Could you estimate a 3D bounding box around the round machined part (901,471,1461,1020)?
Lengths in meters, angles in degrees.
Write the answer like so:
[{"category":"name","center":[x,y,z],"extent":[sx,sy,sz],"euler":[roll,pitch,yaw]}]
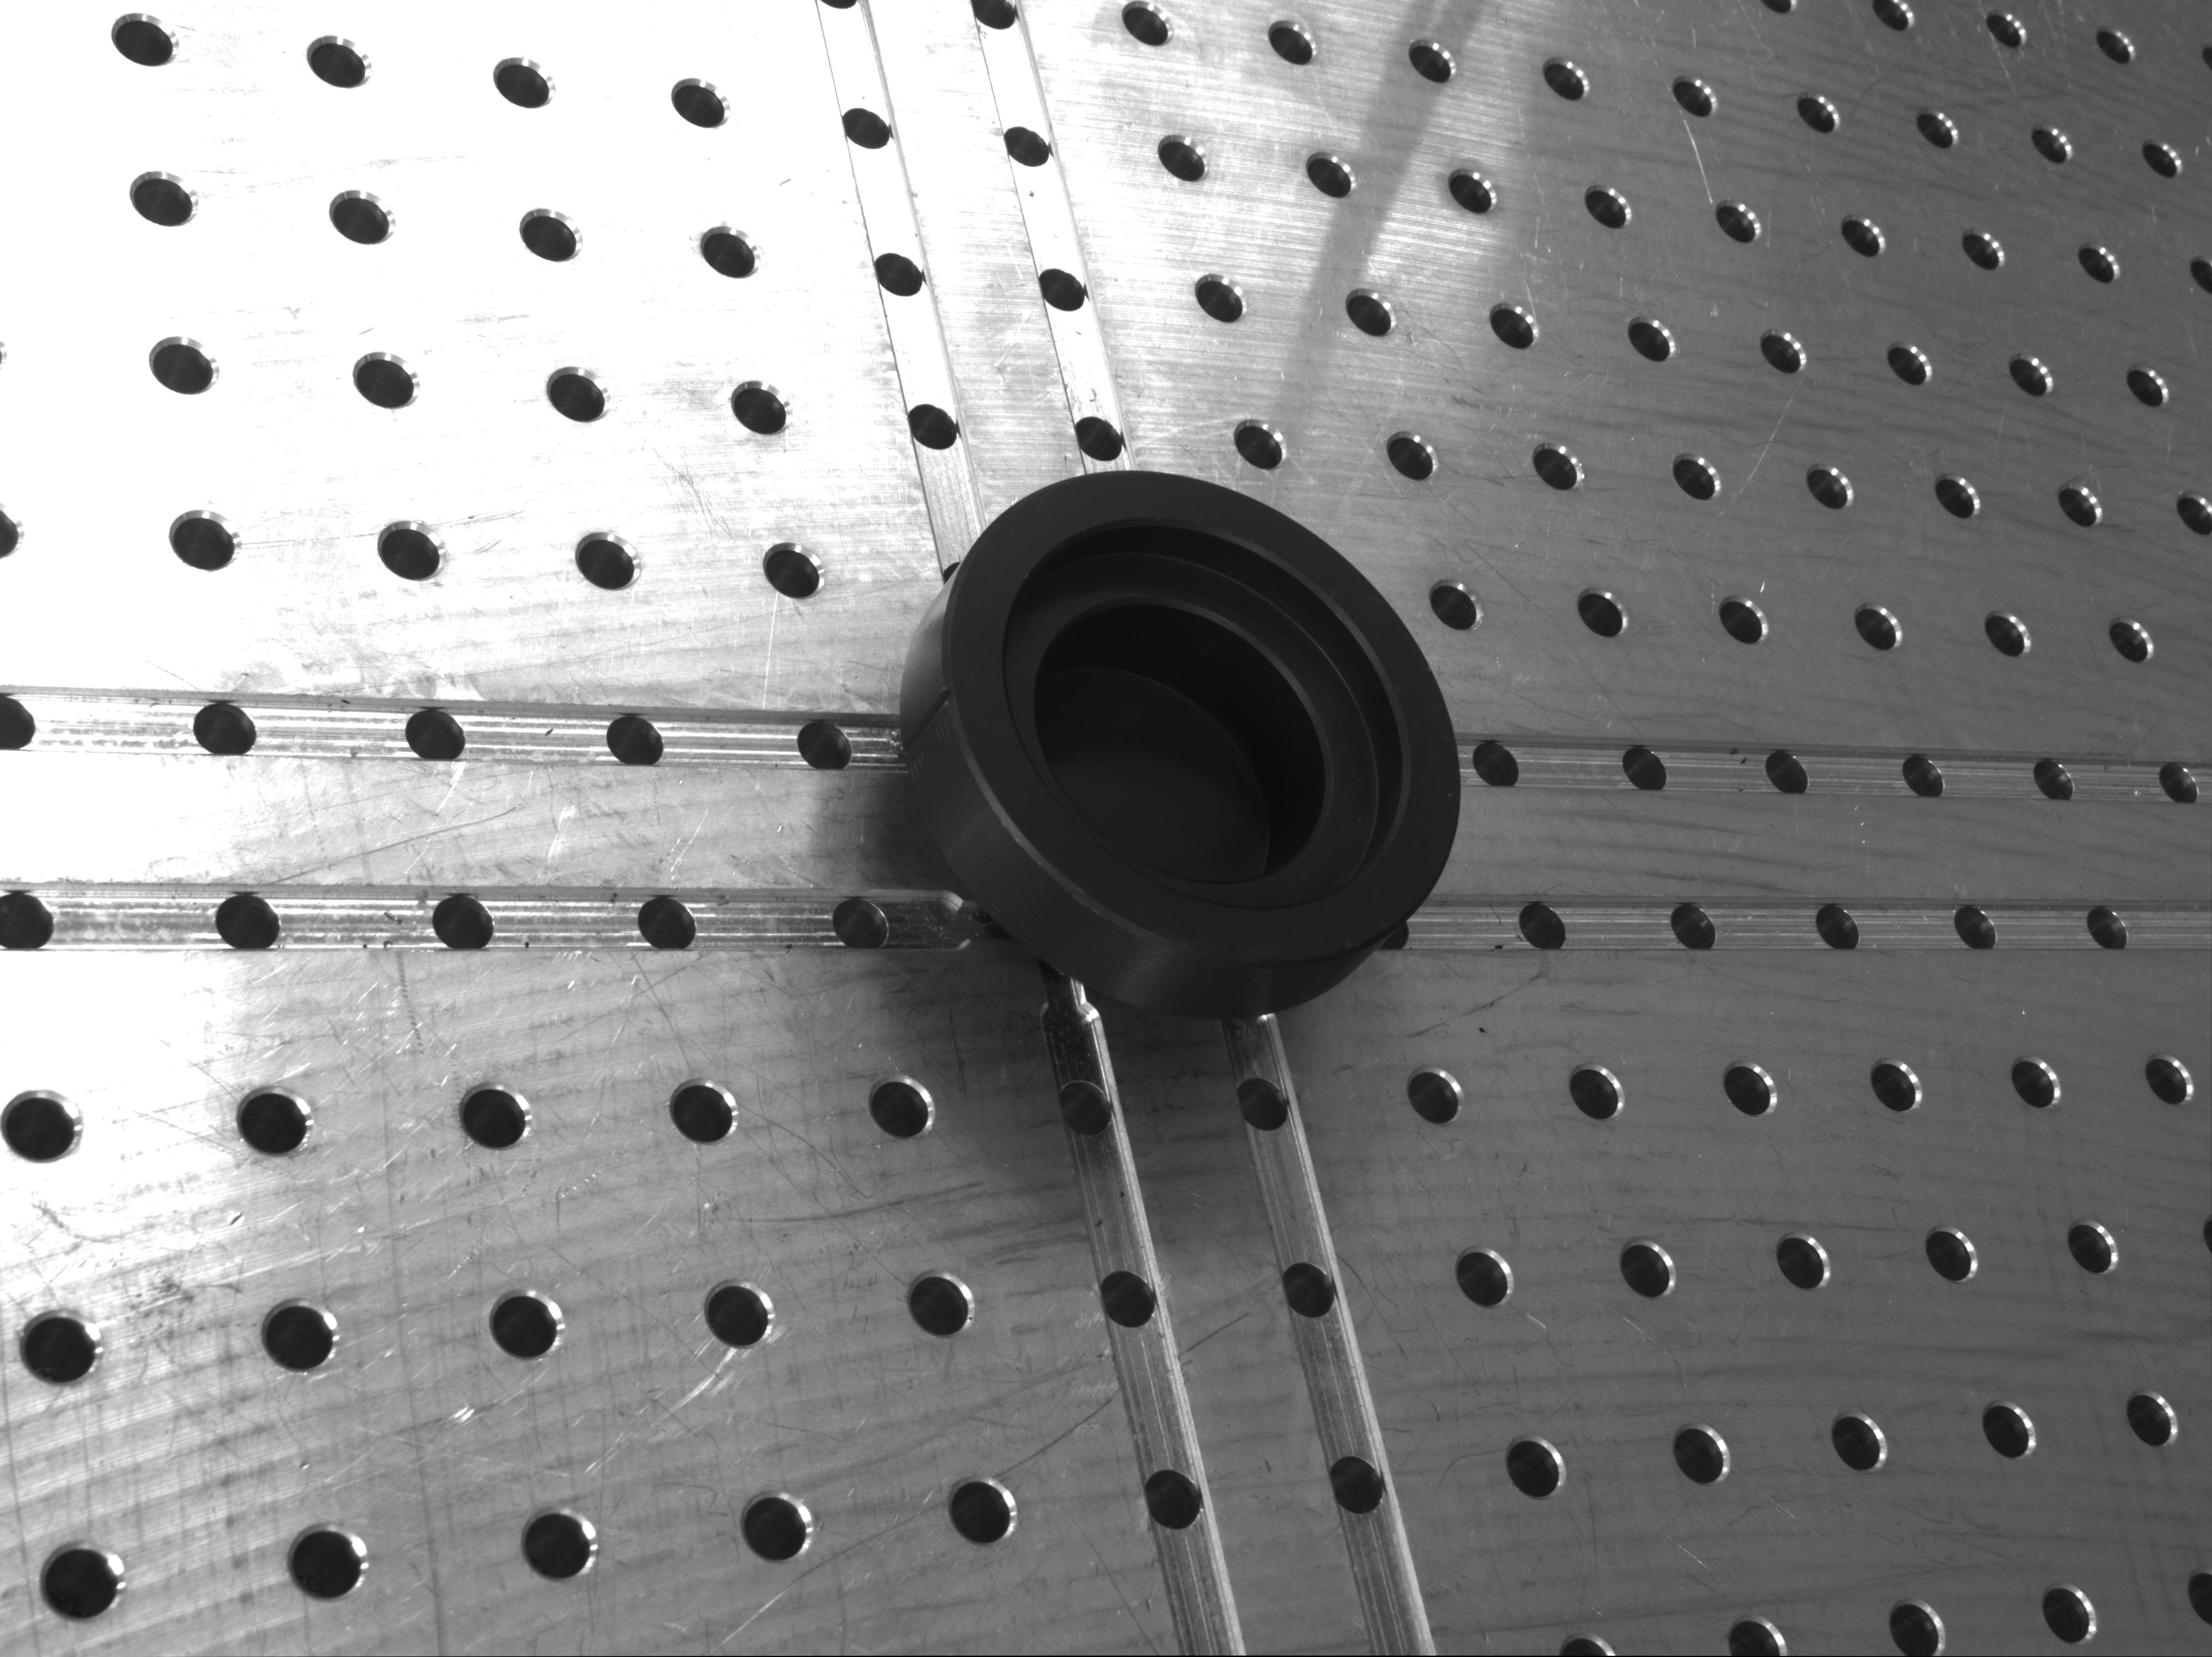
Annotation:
[{"category":"round machined part","center":[0.009,-0.010,0.642],"extent":[0.098,0.042,0.098],"euler":[13,56,-21]}]
